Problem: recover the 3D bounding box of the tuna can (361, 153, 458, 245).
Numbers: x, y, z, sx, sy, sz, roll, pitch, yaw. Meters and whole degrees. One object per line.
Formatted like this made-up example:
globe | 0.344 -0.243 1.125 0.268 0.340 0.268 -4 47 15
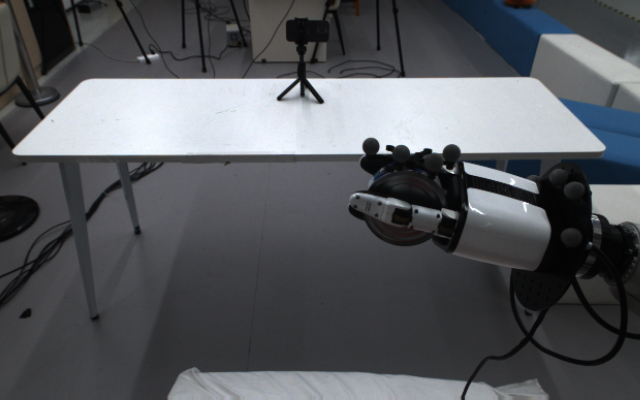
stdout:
tuna can | 0.090 0.002 0.508 0.085 0.085 0.034 7 21 7
